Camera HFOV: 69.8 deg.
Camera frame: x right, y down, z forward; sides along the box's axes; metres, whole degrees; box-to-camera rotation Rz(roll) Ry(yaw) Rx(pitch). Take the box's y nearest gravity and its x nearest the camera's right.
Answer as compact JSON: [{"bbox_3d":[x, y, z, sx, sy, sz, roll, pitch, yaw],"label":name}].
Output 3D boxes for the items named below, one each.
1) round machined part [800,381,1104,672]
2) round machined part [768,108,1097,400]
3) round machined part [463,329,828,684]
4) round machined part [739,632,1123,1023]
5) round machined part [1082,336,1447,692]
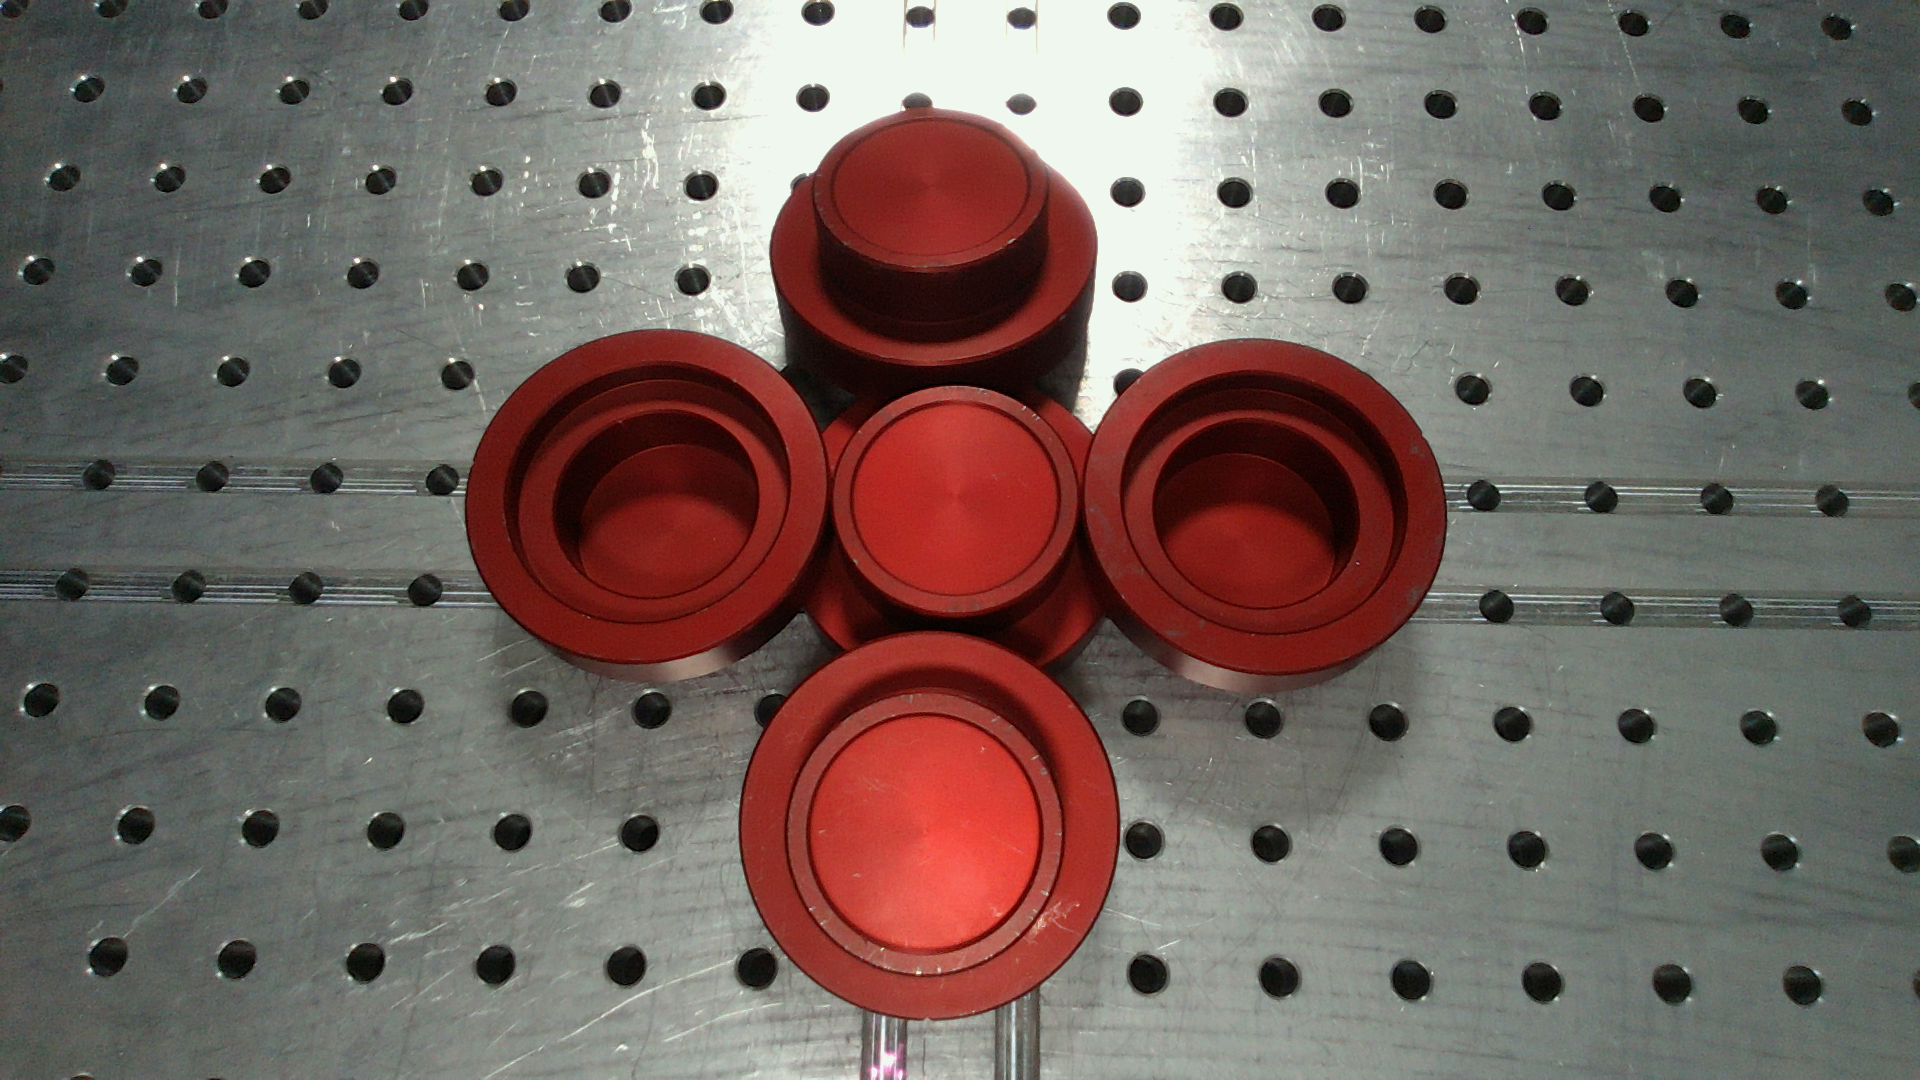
[{"bbox_3d":[-0.002,-0.005,0.389,0.098,0.042,0.098,0,70,0],"label":"round machined part"},{"bbox_3d":[-0.008,-0.090,0.409,0.098,0.042,0.098,-1,55,1],"label":"round machined part"},{"bbox_3d":[-0.085,-0.007,0.390,0.098,0.042,0.098,0,70,0],"label":"round machined part"},{"bbox_3d":[-0.007,0.072,0.349,0.098,0.042,0.098,0,85,0],"label":"round machined part"},{"bbox_3d":[0.082,-0.005,0.389,0.098,0.042,0.098,0,70,0],"label":"round machined part"}]
